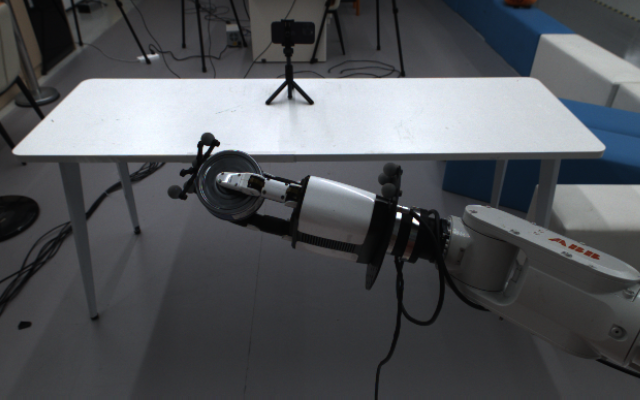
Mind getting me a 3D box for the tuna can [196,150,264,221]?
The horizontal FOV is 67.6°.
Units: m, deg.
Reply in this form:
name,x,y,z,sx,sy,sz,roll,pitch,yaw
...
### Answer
name,x,y,z,sx,sy,sz,roll,pitch,yaw
tuna can,-0.109,-0.020,0.607,0.085,0.034,0.085,0,75,-1
